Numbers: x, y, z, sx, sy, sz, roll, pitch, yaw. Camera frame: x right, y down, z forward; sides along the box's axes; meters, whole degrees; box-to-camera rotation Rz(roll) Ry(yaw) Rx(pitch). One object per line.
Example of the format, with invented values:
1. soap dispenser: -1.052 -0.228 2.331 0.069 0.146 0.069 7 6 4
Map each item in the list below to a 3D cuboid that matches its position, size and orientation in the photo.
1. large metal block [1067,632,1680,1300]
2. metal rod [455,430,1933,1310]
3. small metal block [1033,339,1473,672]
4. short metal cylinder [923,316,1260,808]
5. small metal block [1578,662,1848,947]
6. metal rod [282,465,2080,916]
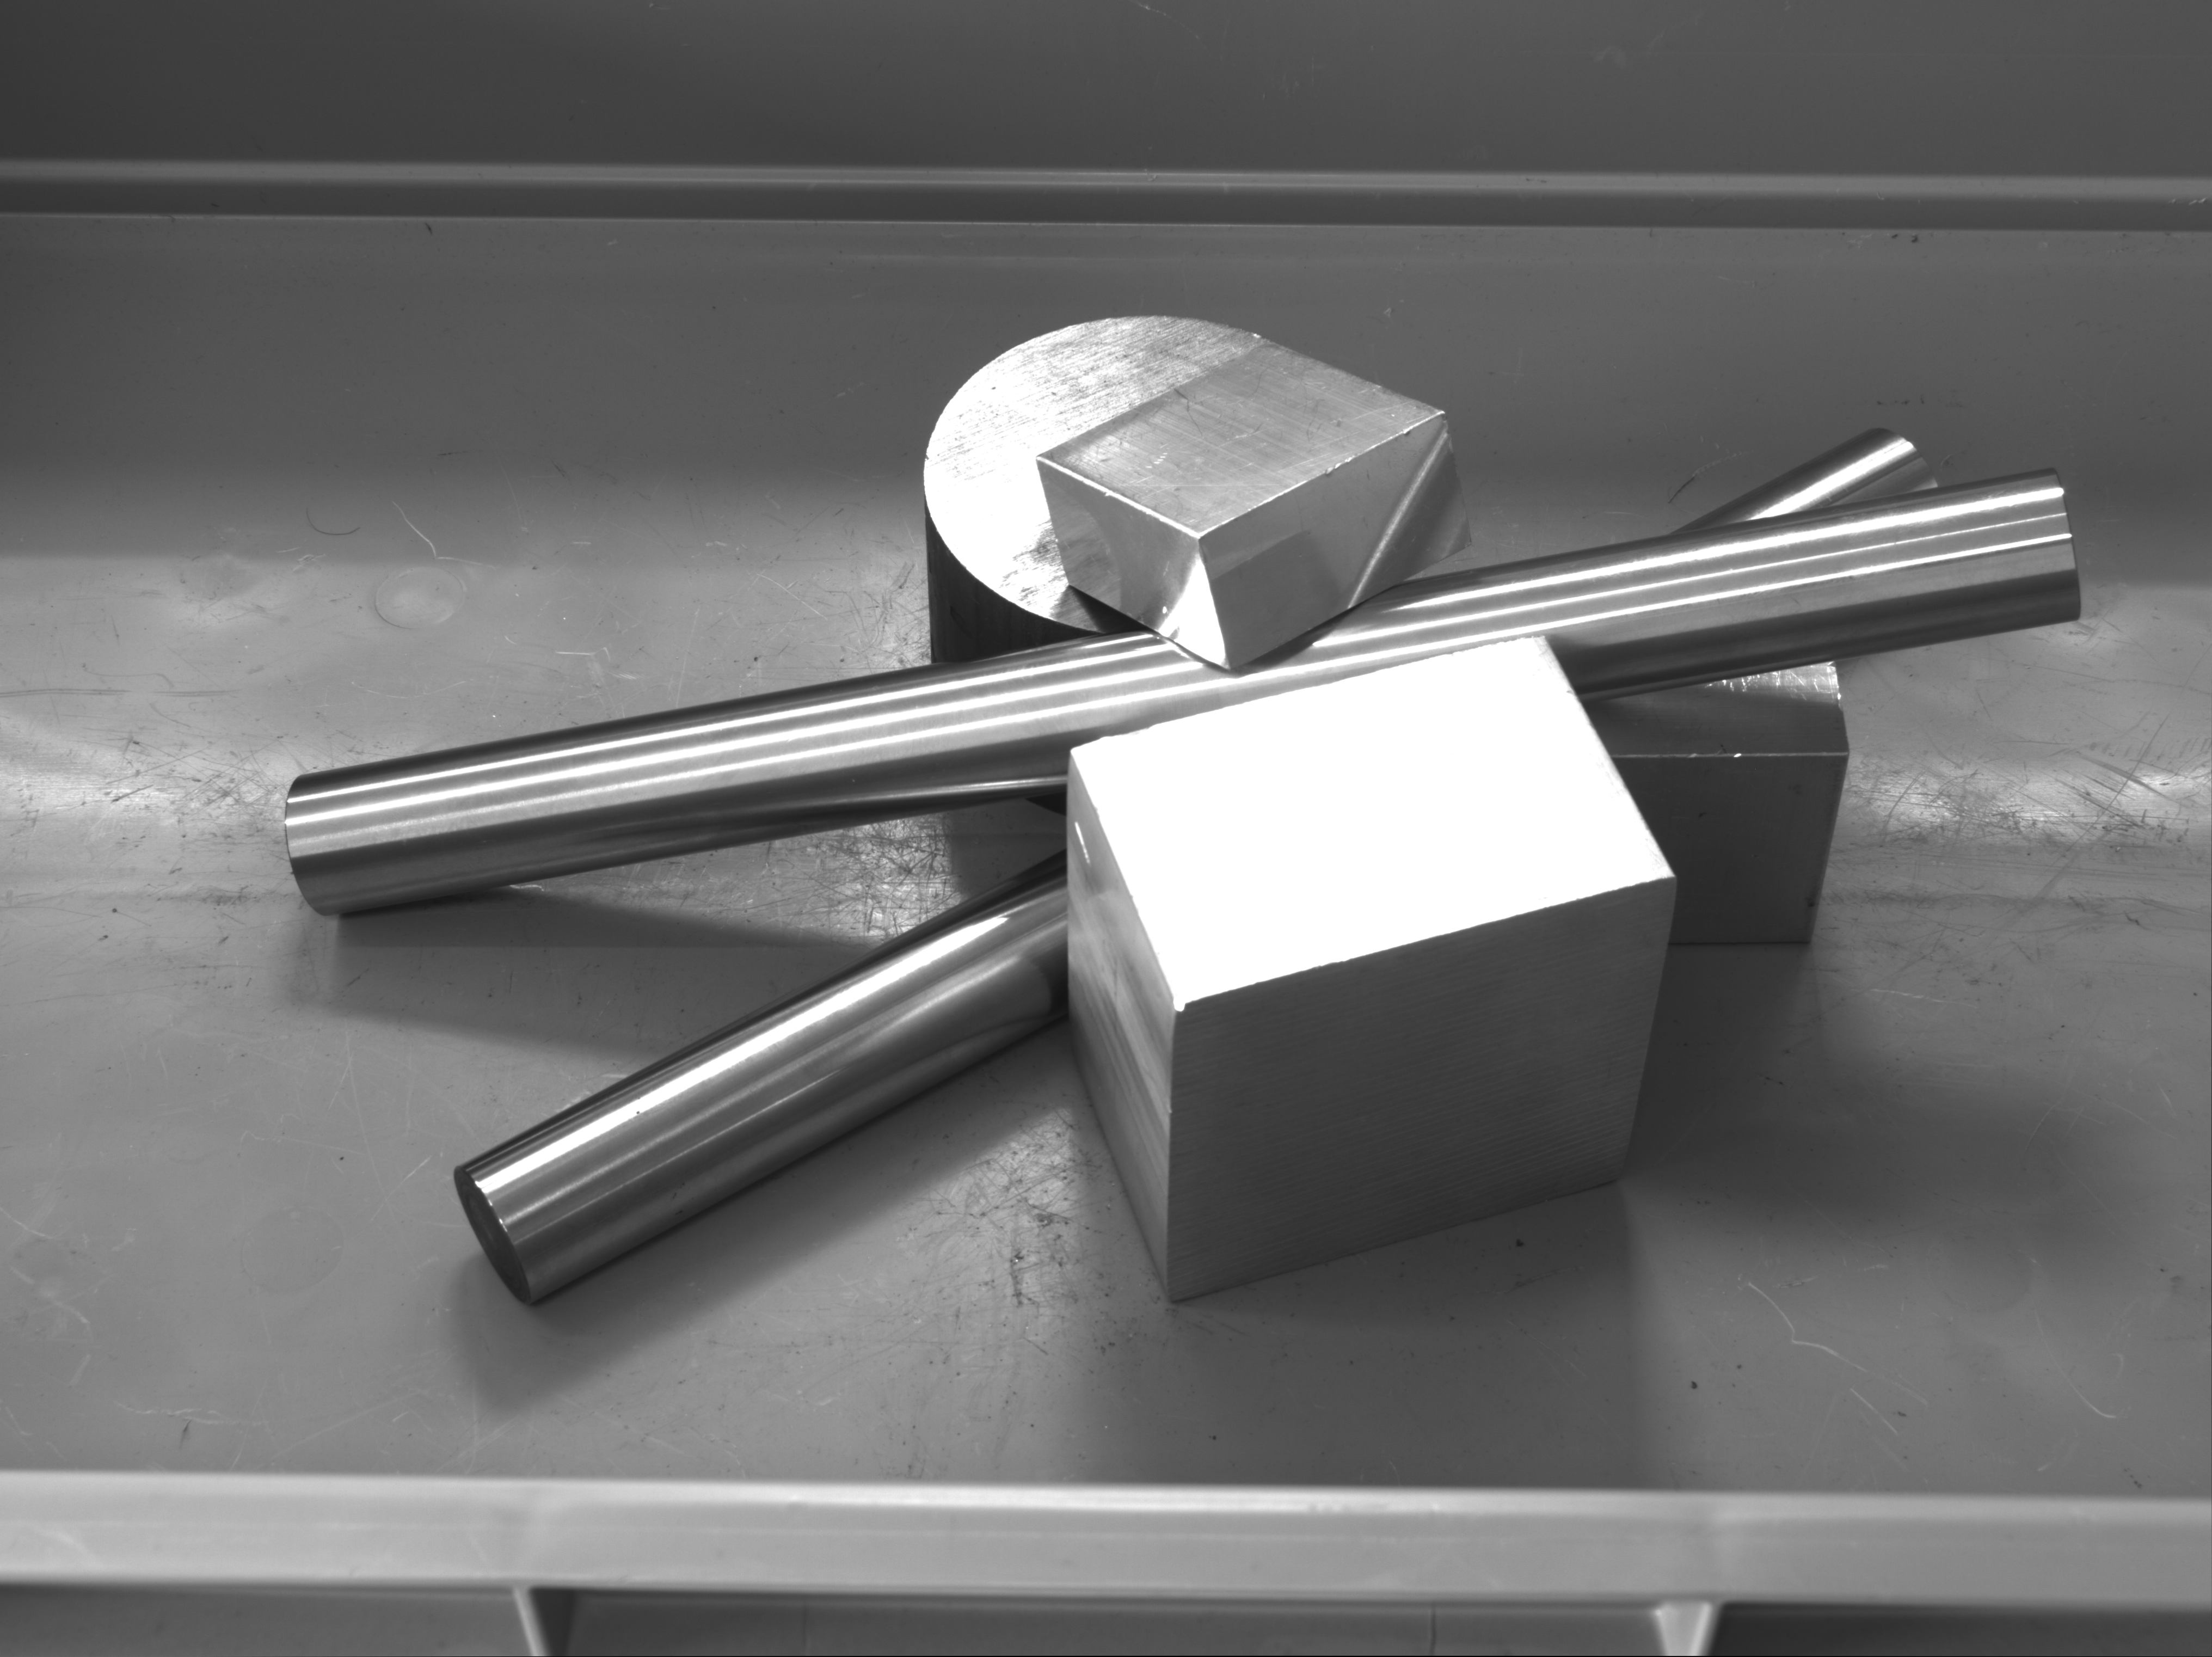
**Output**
1. large metal block: 0.040 0.023 0.585 0.080 0.080 0.050 -14 51 -11
2. metal rod: 0.026 0.001 0.641 0.301 0.025 0.025 -28 55 -21
3. small metal block: 0.024 -0.055 0.611 0.050 0.025 0.050 -29 33 -22
4. short metal cylinder: 0.008 -0.047 0.664 0.080 0.050 0.080 0 49 0
5. small metal block: 0.097 -0.005 0.629 0.050 0.050 0.025 -1 50 1
6. metal rod: 0.008 -0.021 0.613 0.300 0.025 0.025 -9 49 10
